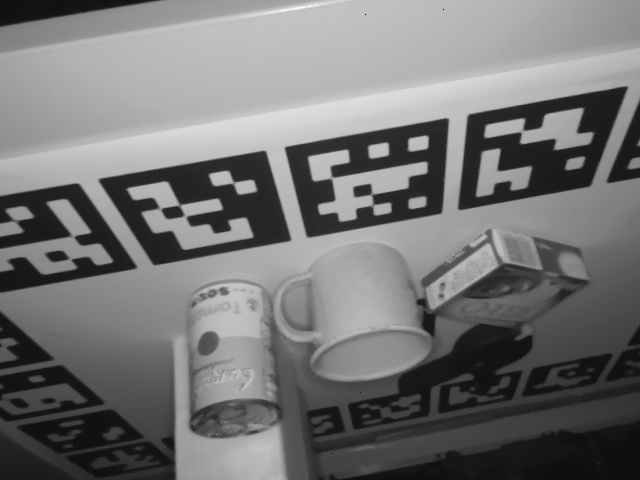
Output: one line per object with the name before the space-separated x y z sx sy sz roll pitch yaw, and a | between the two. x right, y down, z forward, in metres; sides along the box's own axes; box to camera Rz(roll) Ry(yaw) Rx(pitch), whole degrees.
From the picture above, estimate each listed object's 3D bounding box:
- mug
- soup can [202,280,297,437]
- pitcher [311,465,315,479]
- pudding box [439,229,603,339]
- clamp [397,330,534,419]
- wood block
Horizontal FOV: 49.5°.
mug | 0.031 0.055 0.535 0.118 0.082 0.091 13 139 -29
soup can | -0.057 0.091 0.541 0.068 0.102 0.067 -7 140 -5
pitcher | -0.067 0.277 0.665 0.189 0.243 0.132 -12 145 -2
pudding box | 0.173 0.040 0.591 0.115 0.039 0.088 15 133 -30
clamp | 0.168 0.135 0.721 0.123 0.037 0.162 14 136 -18
wood block | -0.058 0.188 0.579 0.090 0.207 0.090 -9 143 4
